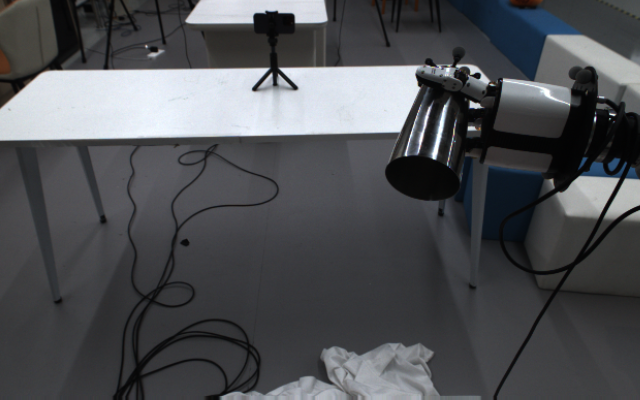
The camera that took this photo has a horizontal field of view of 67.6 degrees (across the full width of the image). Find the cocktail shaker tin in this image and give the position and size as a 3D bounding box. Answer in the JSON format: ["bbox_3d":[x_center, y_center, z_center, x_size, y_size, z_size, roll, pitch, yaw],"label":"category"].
[{"bbox_3d":[0.151,-0.098,0.635,0.093,0.093,0.170,13,59,16],"label":"cocktail shaker tin"}]
